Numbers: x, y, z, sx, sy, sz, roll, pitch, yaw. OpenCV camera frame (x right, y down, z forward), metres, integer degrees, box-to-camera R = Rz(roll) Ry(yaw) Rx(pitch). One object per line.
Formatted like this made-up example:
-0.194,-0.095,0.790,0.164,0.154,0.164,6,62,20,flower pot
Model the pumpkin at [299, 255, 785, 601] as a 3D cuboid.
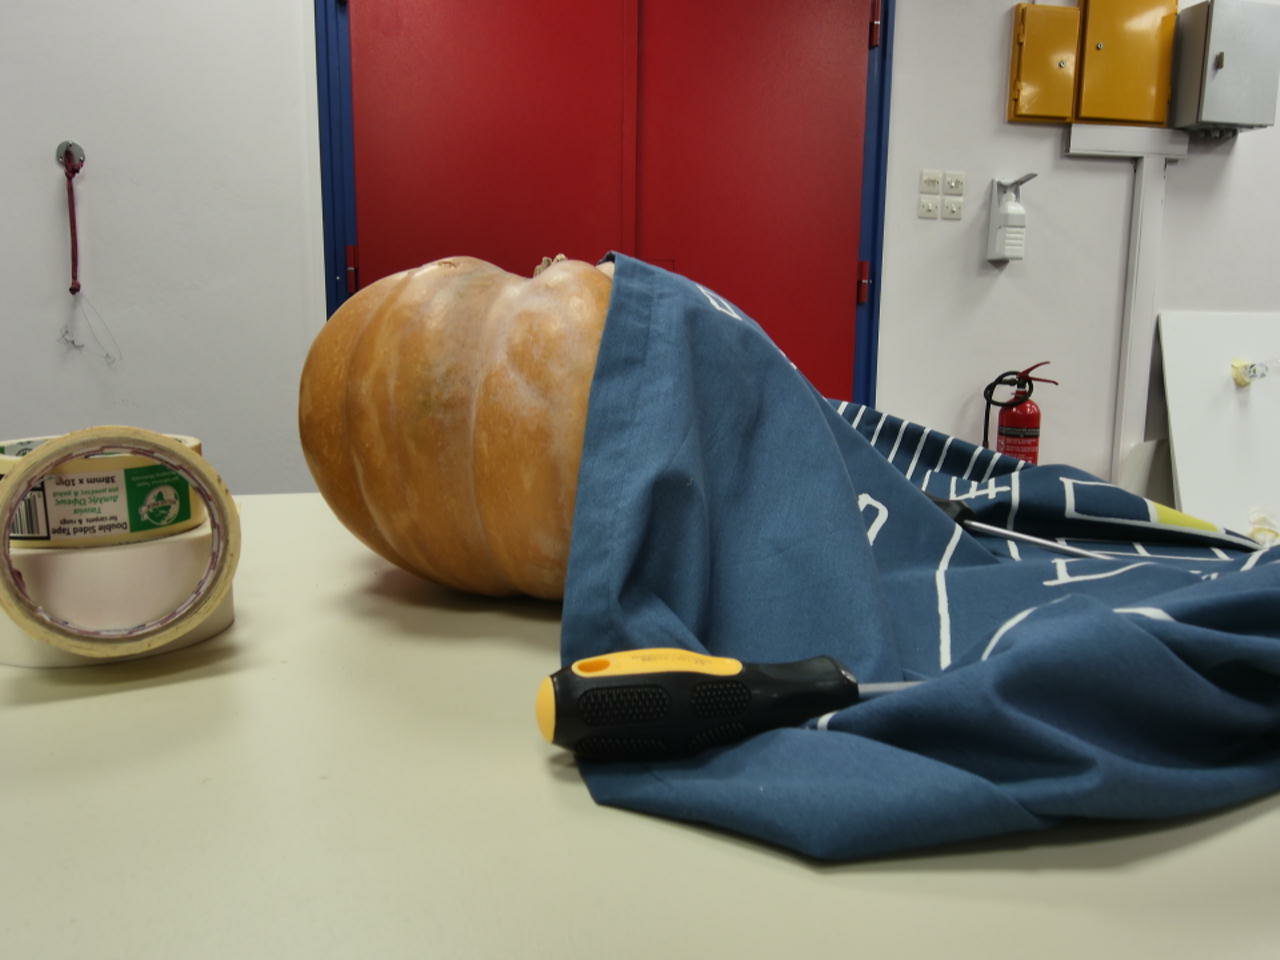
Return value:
-0.049,-0.033,0.555,0.277,0.181,0.277,0,7,0,pumpkin
